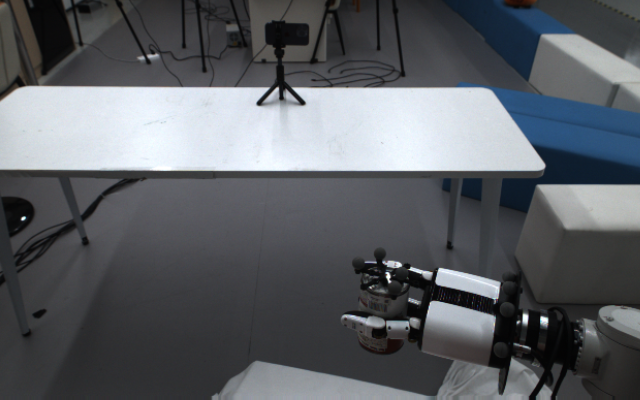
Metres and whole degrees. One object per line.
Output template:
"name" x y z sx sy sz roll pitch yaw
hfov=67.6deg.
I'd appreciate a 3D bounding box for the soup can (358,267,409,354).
"soup can" 0.089 0.152 0.668 0.067 0.101 0.067 1 25 0
